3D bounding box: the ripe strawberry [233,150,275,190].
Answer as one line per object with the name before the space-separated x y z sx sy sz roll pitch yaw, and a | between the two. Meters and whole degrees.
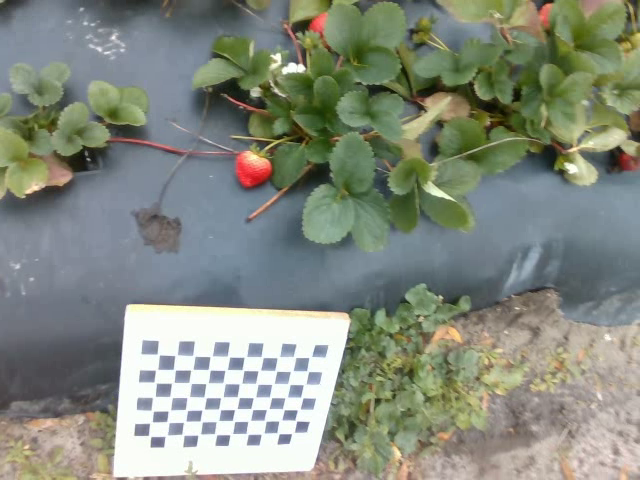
ripe strawberry | -0.105 -0.108 0.966 0.061 0.065 0.050 14 17 -23
